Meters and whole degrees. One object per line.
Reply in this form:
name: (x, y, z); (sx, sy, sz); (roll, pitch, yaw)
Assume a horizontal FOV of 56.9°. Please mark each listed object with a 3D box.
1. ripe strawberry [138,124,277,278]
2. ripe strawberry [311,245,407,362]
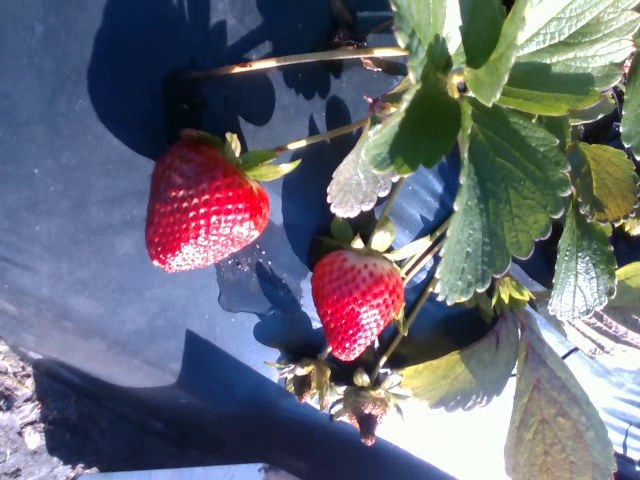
ripe strawberry: (-0.044, -0.008, 0.205); (0.044, 0.050, 0.051); (19, -22, 49)
ripe strawberry: (0.013, 0.027, 0.233); (0.042, 0.049, 0.039); (13, -6, 15)
